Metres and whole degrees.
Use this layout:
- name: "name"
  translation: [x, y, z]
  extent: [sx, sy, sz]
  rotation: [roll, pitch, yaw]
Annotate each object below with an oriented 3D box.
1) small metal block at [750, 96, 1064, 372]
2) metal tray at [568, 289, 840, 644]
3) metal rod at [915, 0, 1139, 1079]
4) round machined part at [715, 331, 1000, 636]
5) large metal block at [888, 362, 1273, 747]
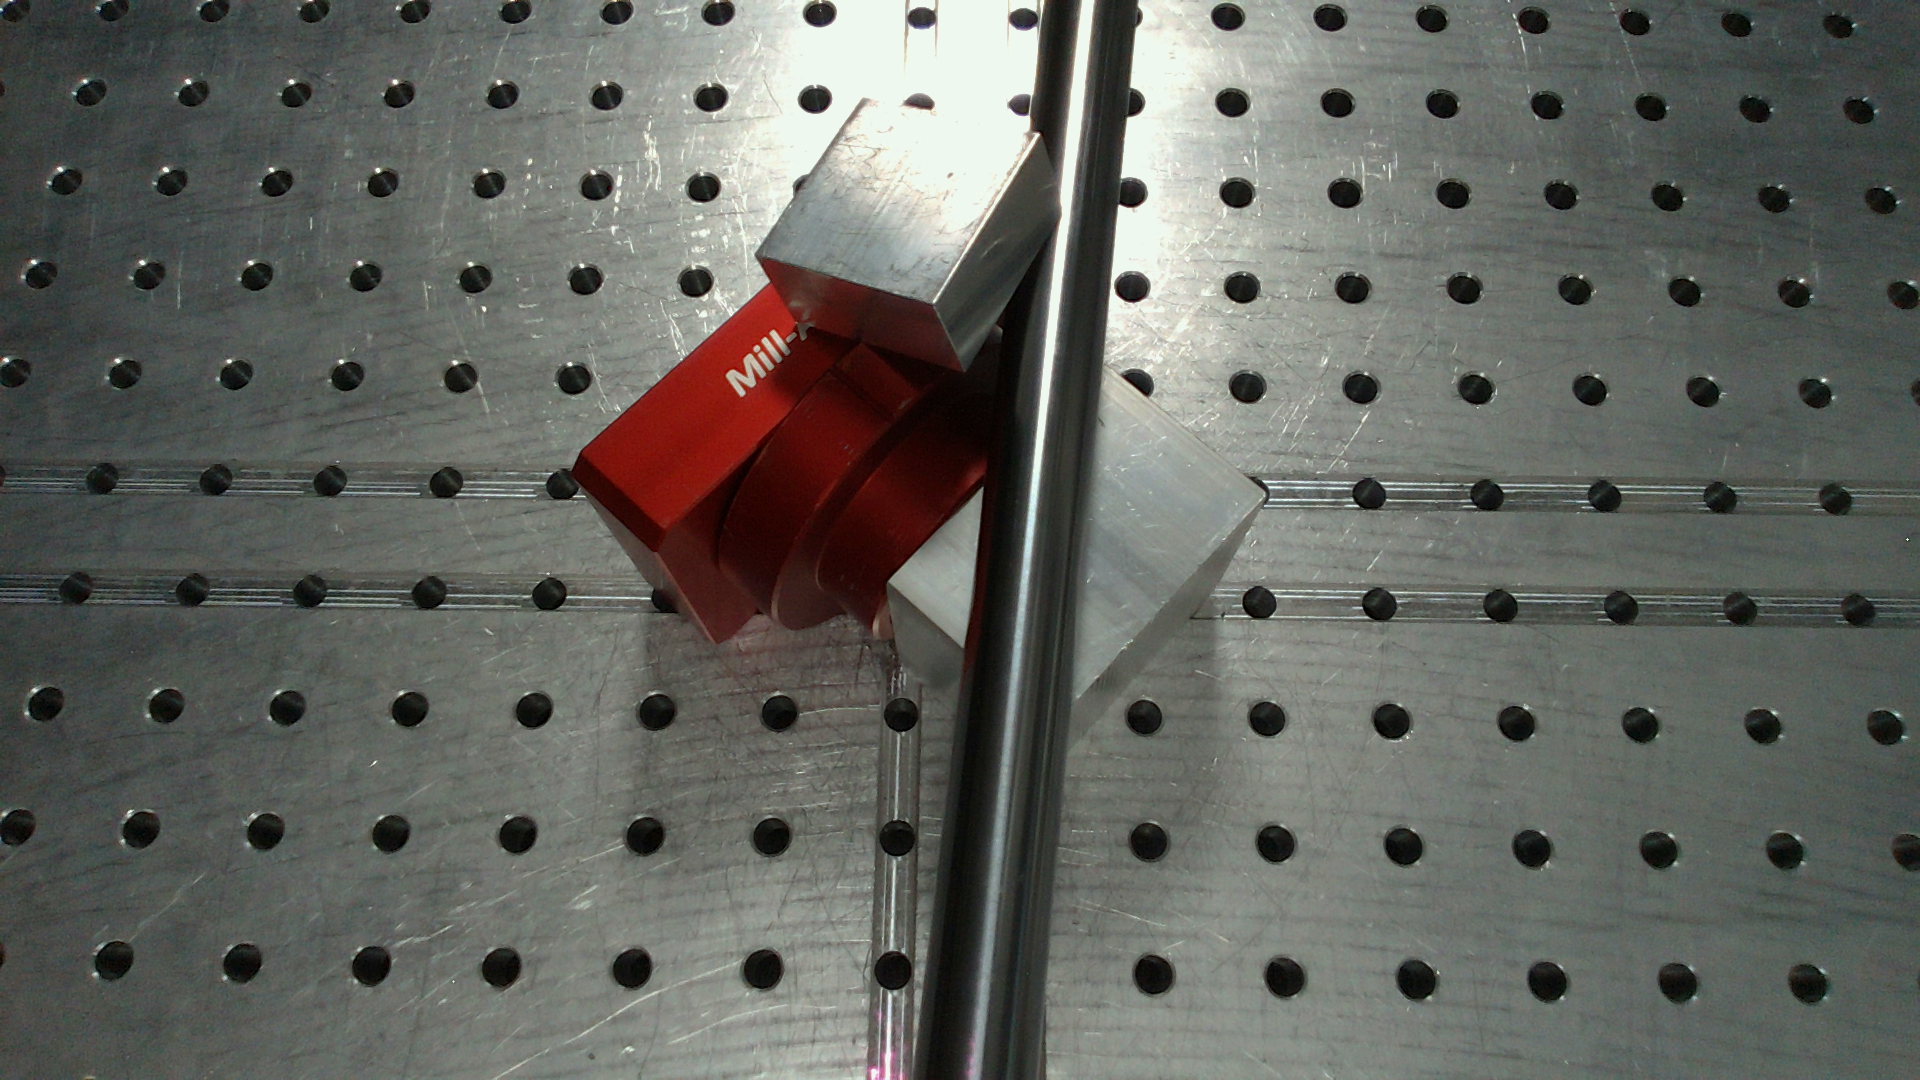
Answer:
- name: "small metal block"
  translation: [-0.011, -0.072, 0.319]
  extent: [0.050, 0.025, 0.050]
  rotation: [20, 68, 27]
- name: "metal tray"
  translation: [-0.038, -0.037, 0.376]
  extent: [0.030, 0.090, 0.130]
  rotation: [41, 75, 14]
- name: "metal rod"
  translation: [0.019, -0.019, 0.319]
  extent: [0.025, 0.025, 0.300]
  rotation: [6, 70, 2]
- name: "round machined part"
  translation: [-0.015, -0.013, 0.367]
  extent: [0.042, 0.098, 0.098]
  rotation: [40, 75, 13]
- name: "large metal block"
  translation: [0.029, 0.013, 0.360]
  extent: [0.050, 0.080, 0.080]
  rotation: [41, 75, 14]
